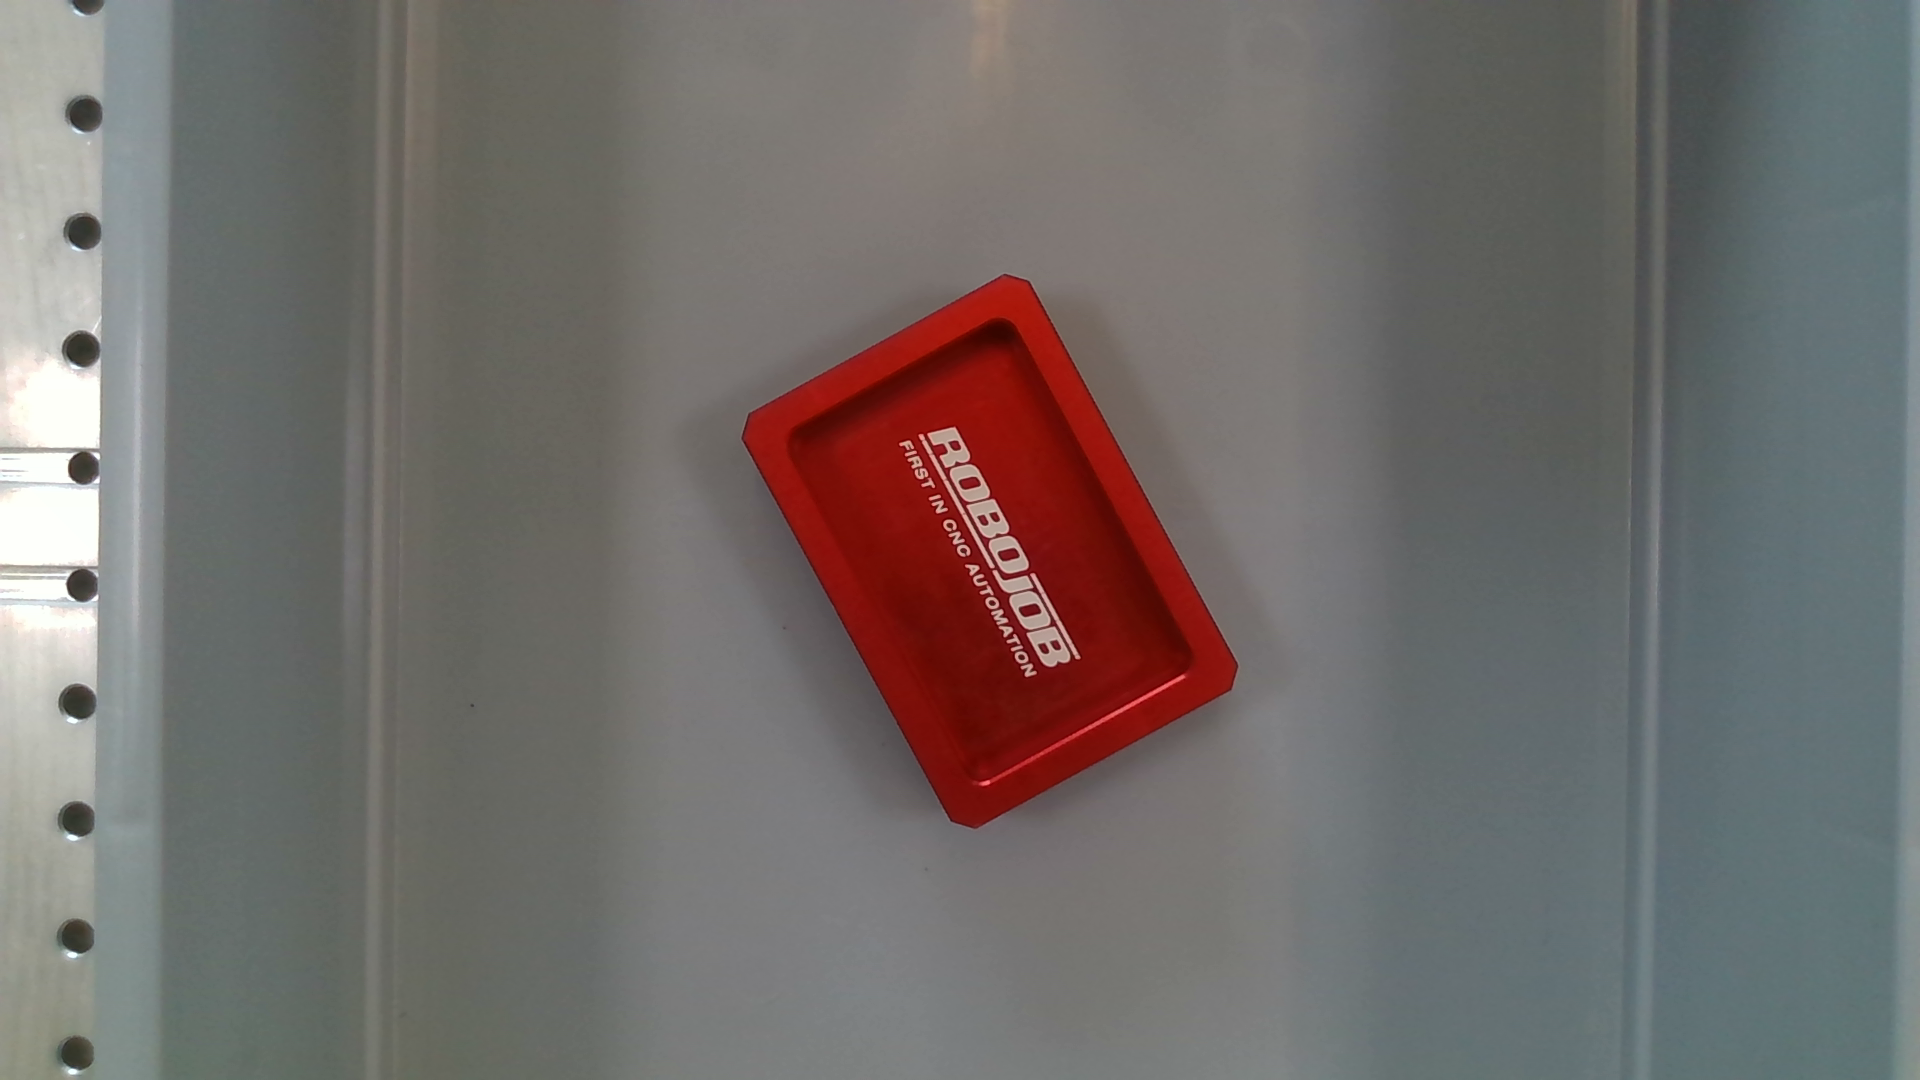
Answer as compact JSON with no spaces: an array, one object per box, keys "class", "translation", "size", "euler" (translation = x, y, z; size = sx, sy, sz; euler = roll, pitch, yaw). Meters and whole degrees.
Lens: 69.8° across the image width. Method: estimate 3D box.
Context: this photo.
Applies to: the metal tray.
[{"class":"metal tray","translation":[0.008,0.003,0.390],"size":[0.090,0.030,0.130],"euler":[-29,91,0]}]
